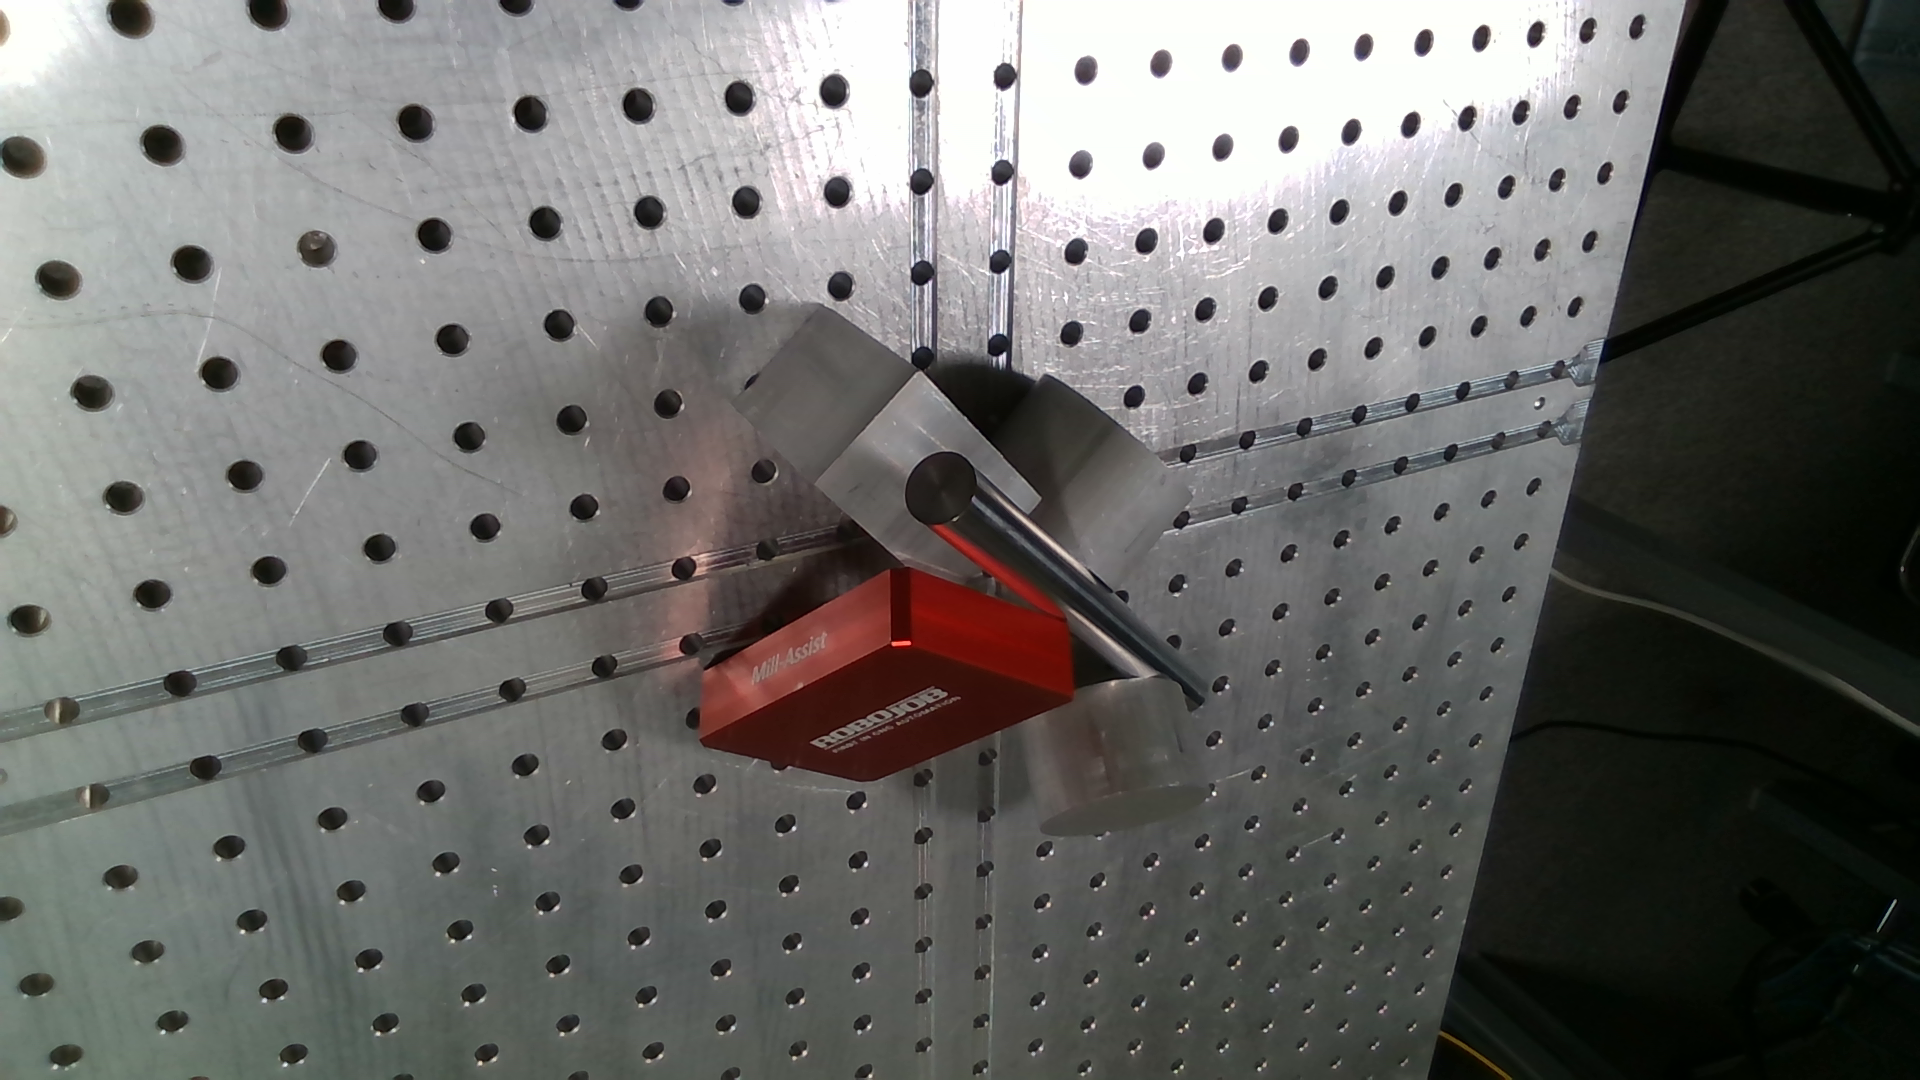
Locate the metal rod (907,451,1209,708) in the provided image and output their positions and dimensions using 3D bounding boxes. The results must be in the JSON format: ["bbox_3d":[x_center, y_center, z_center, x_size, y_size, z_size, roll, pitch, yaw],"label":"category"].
[{"bbox_3d":[0.054,0.029,0.563,0.025,0.025,0.301,-50,150,1],"label":"metal rod"}]

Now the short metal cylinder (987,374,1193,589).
[{"bbox_3d":[0.048,-0.023,0.565,0.050,0.080,0.080,-50,129,1],"label":"short metal cylinder"}]

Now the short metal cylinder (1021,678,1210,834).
[{"bbox_3d":[0.070,0.102,0.640,0.080,0.050,0.080,-10,156,-4],"label":"short metal cylinder"}]

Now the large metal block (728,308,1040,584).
[{"bbox_3d":[-0.029,-0.031,0.513,0.050,0.080,0.080,-47,129,-1],"label":"large metal block"}]

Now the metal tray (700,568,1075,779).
[{"bbox_3d":[-0.031,0.058,0.542,0.090,0.030,0.130,20,145,-37],"label":"metal tray"}]
